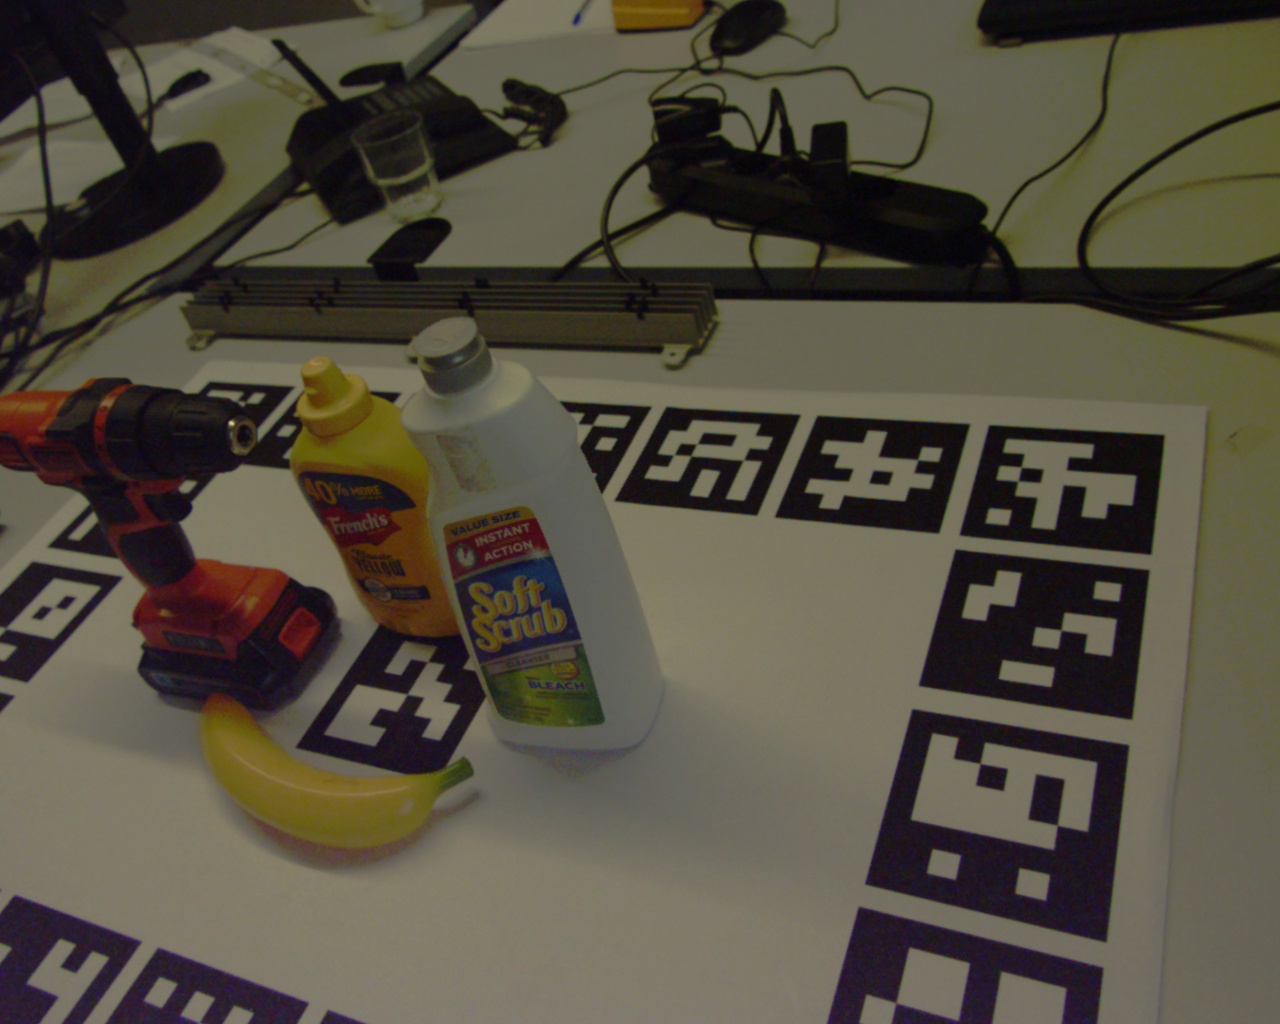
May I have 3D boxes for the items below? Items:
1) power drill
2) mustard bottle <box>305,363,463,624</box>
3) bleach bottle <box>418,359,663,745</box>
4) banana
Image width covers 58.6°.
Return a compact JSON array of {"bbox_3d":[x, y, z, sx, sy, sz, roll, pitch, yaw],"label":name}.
[{"bbox_3d":[-0.272,0.007,0.698,0.186,0.186,0.057,6,40,21],"label":"power drill"},{"bbox_3d":[-0.153,-0.012,0.704,0.097,0.190,0.058,7,47,24],"label":"mustard bottle"},{"bbox_3d":[-0.061,0.027,0.598,0.103,0.249,0.068,0,46,19],"label":"bleach bottle"},{"bbox_3d":[-0.183,0.141,0.663,0.200,0.038,0.074,7,52,29],"label":"banana"}]
